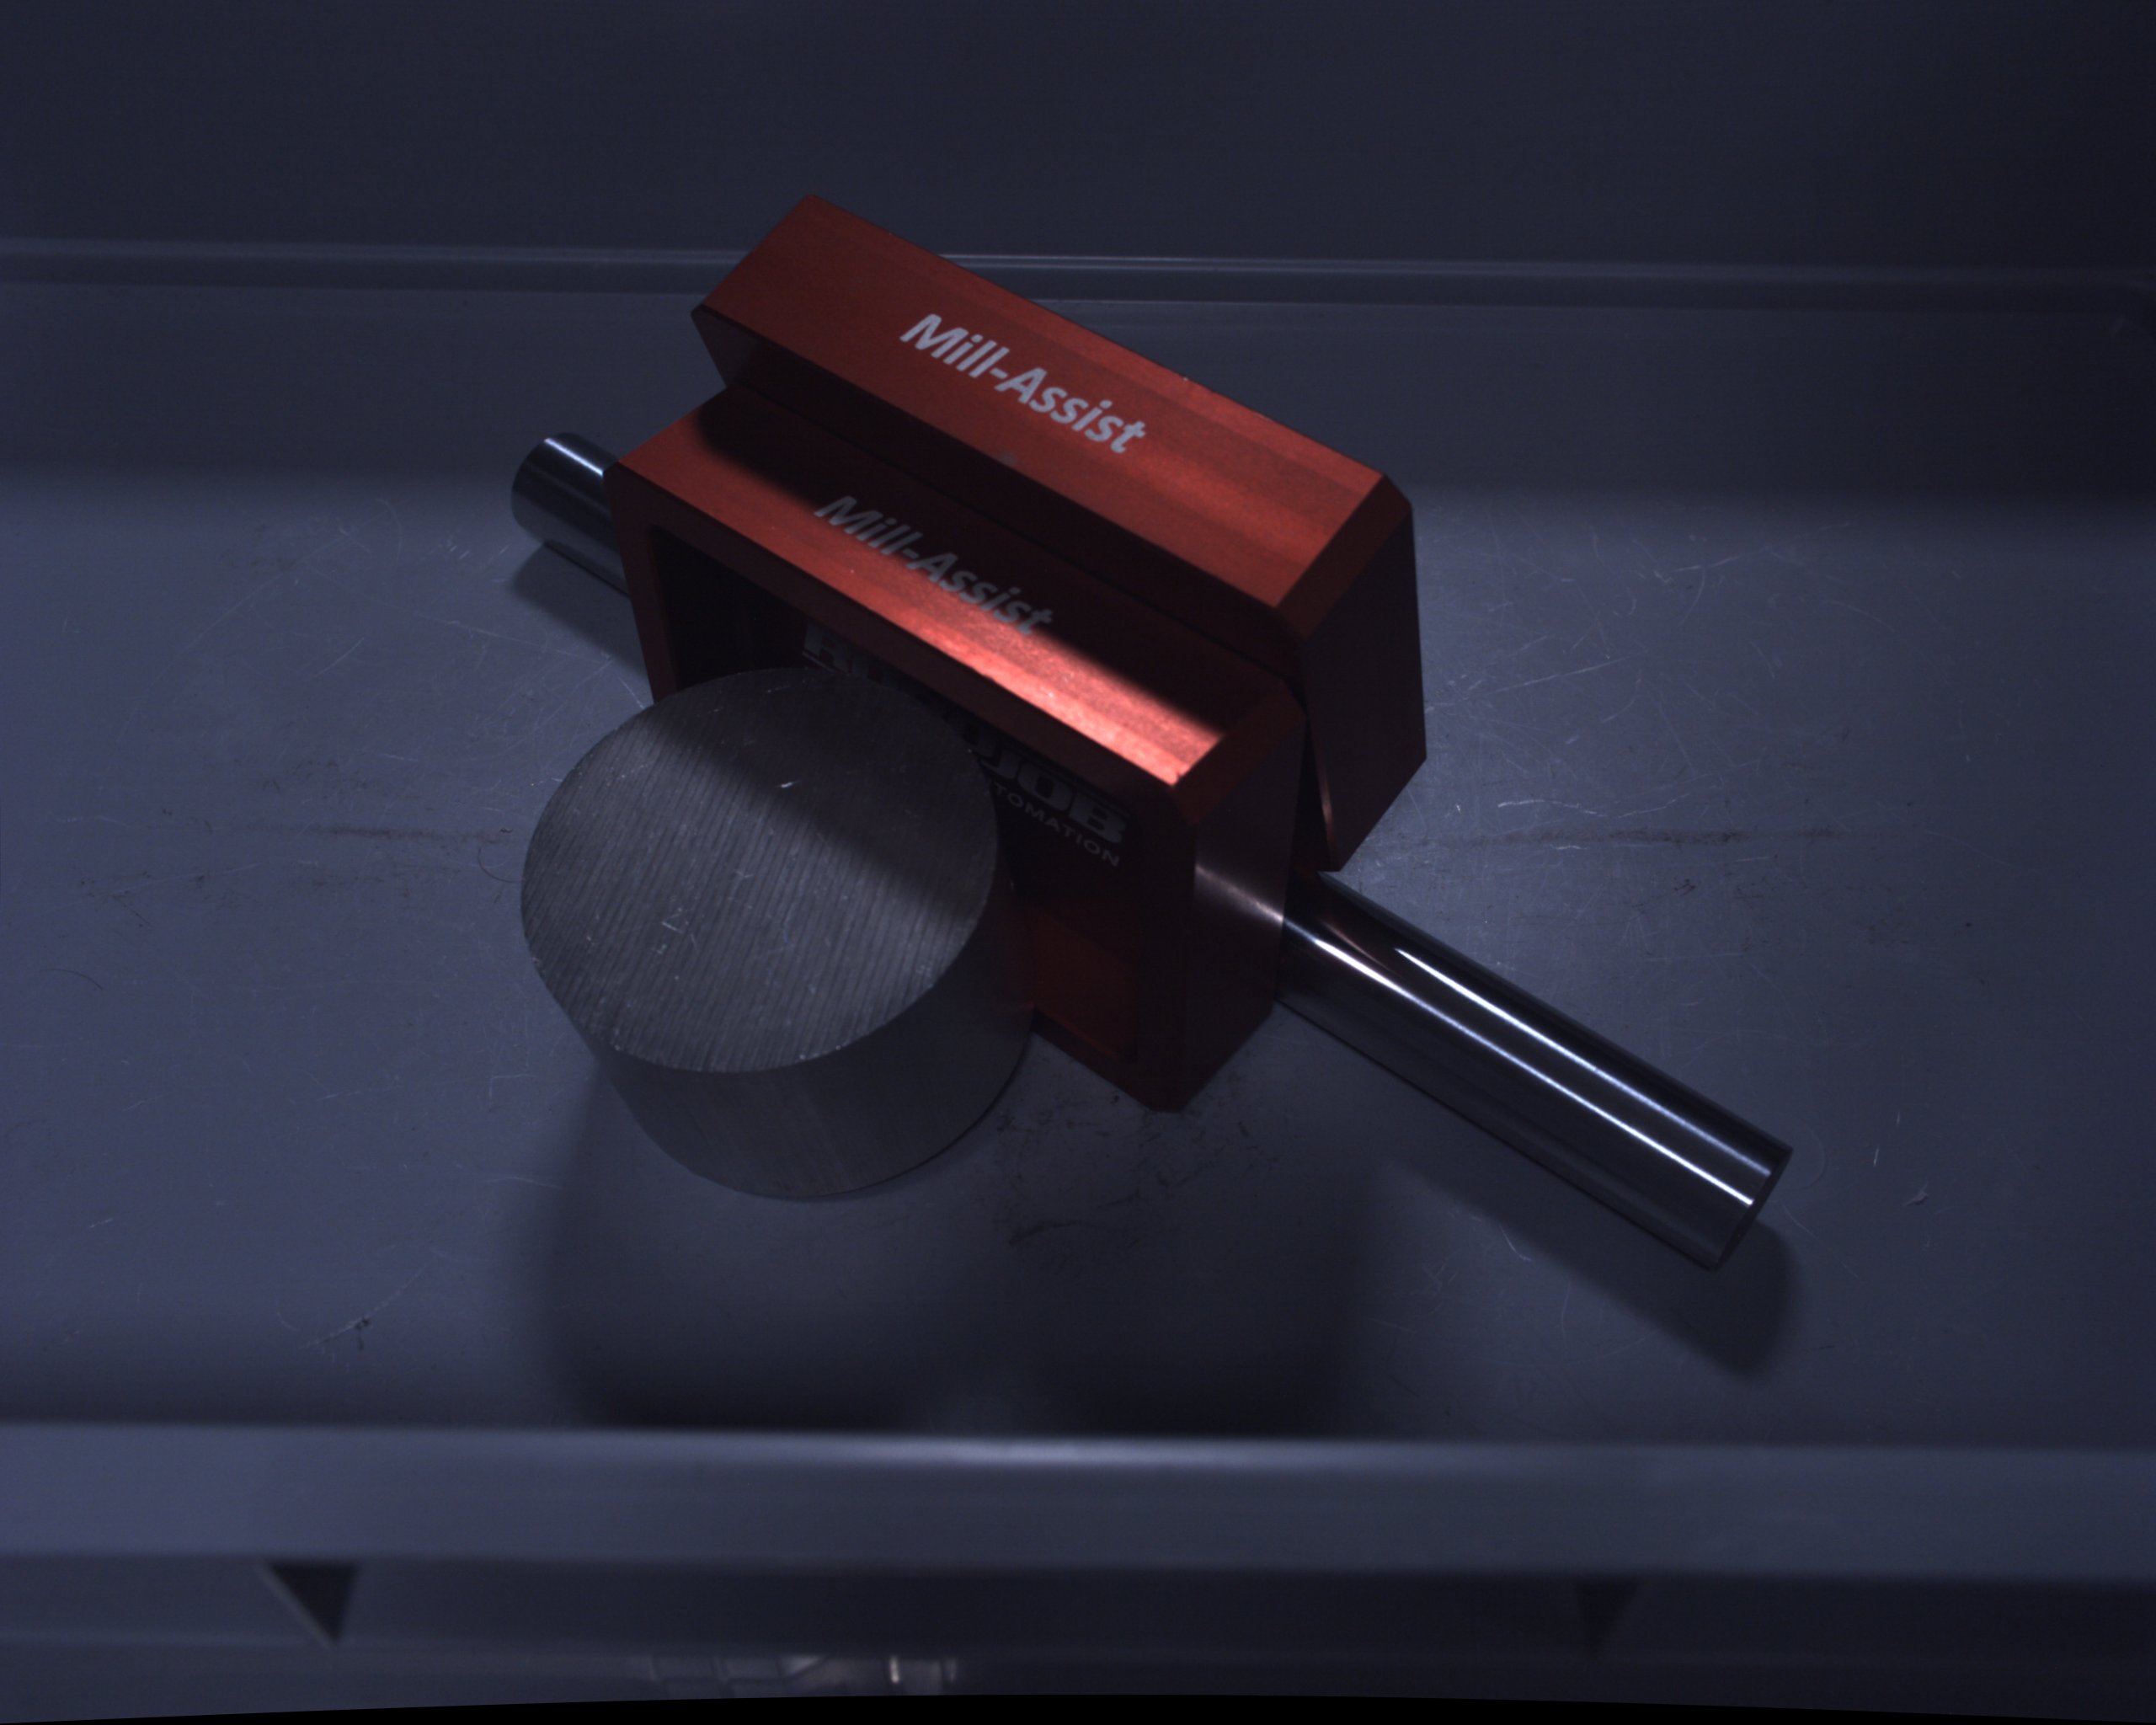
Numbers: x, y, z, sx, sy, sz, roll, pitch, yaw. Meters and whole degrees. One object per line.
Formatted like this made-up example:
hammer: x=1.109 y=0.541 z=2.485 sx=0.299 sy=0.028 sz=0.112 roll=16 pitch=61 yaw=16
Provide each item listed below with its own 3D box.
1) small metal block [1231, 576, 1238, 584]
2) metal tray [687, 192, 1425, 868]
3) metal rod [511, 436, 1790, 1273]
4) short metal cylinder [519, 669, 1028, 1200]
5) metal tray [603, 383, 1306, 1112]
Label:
small metal block: x=0.019 y=-0.042 z=0.438 sx=0.050 sy=0.025 sz=0.050 roll=33 pitch=57 yaw=24
metal tray: x=-0.002 y=-0.058 z=0.377 sx=0.130 sy=0.090 sz=0.030 roll=32 pitch=74 yaw=23
metal rod: x=-0.002 y=-0.013 z=0.416 sx=0.300 sy=0.025 sz=0.025 roll=32 pitch=57 yaw=23
short metal cylinder: x=-0.051 y=0.013 z=0.368 sx=0.080 sy=0.050 sz=0.080 roll=-3 pitch=57 yaw=4
metal tray: x=-0.024 y=-0.020 z=0.378 sx=0.130 sy=0.089 sz=0.030 roll=32 pitch=57 yaw=23
